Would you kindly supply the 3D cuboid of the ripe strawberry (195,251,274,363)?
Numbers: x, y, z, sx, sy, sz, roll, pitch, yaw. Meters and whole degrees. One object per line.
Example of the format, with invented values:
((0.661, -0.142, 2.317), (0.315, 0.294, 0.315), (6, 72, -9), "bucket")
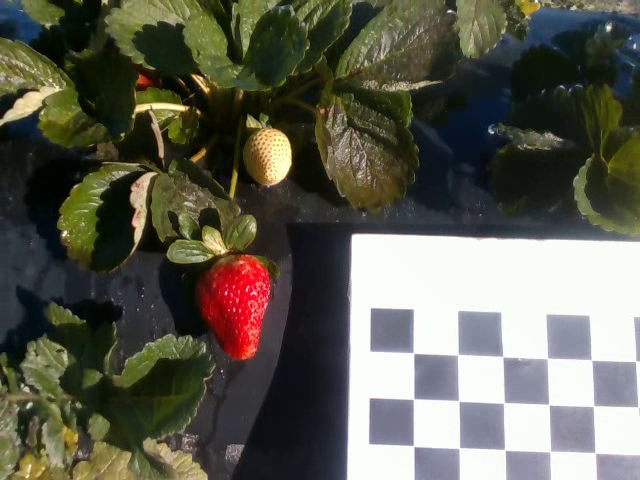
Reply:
((-0.046, 0.038, 0.329), (0.048, 0.069, 0.040), (-16, -16, -3), "ripe strawberry")
